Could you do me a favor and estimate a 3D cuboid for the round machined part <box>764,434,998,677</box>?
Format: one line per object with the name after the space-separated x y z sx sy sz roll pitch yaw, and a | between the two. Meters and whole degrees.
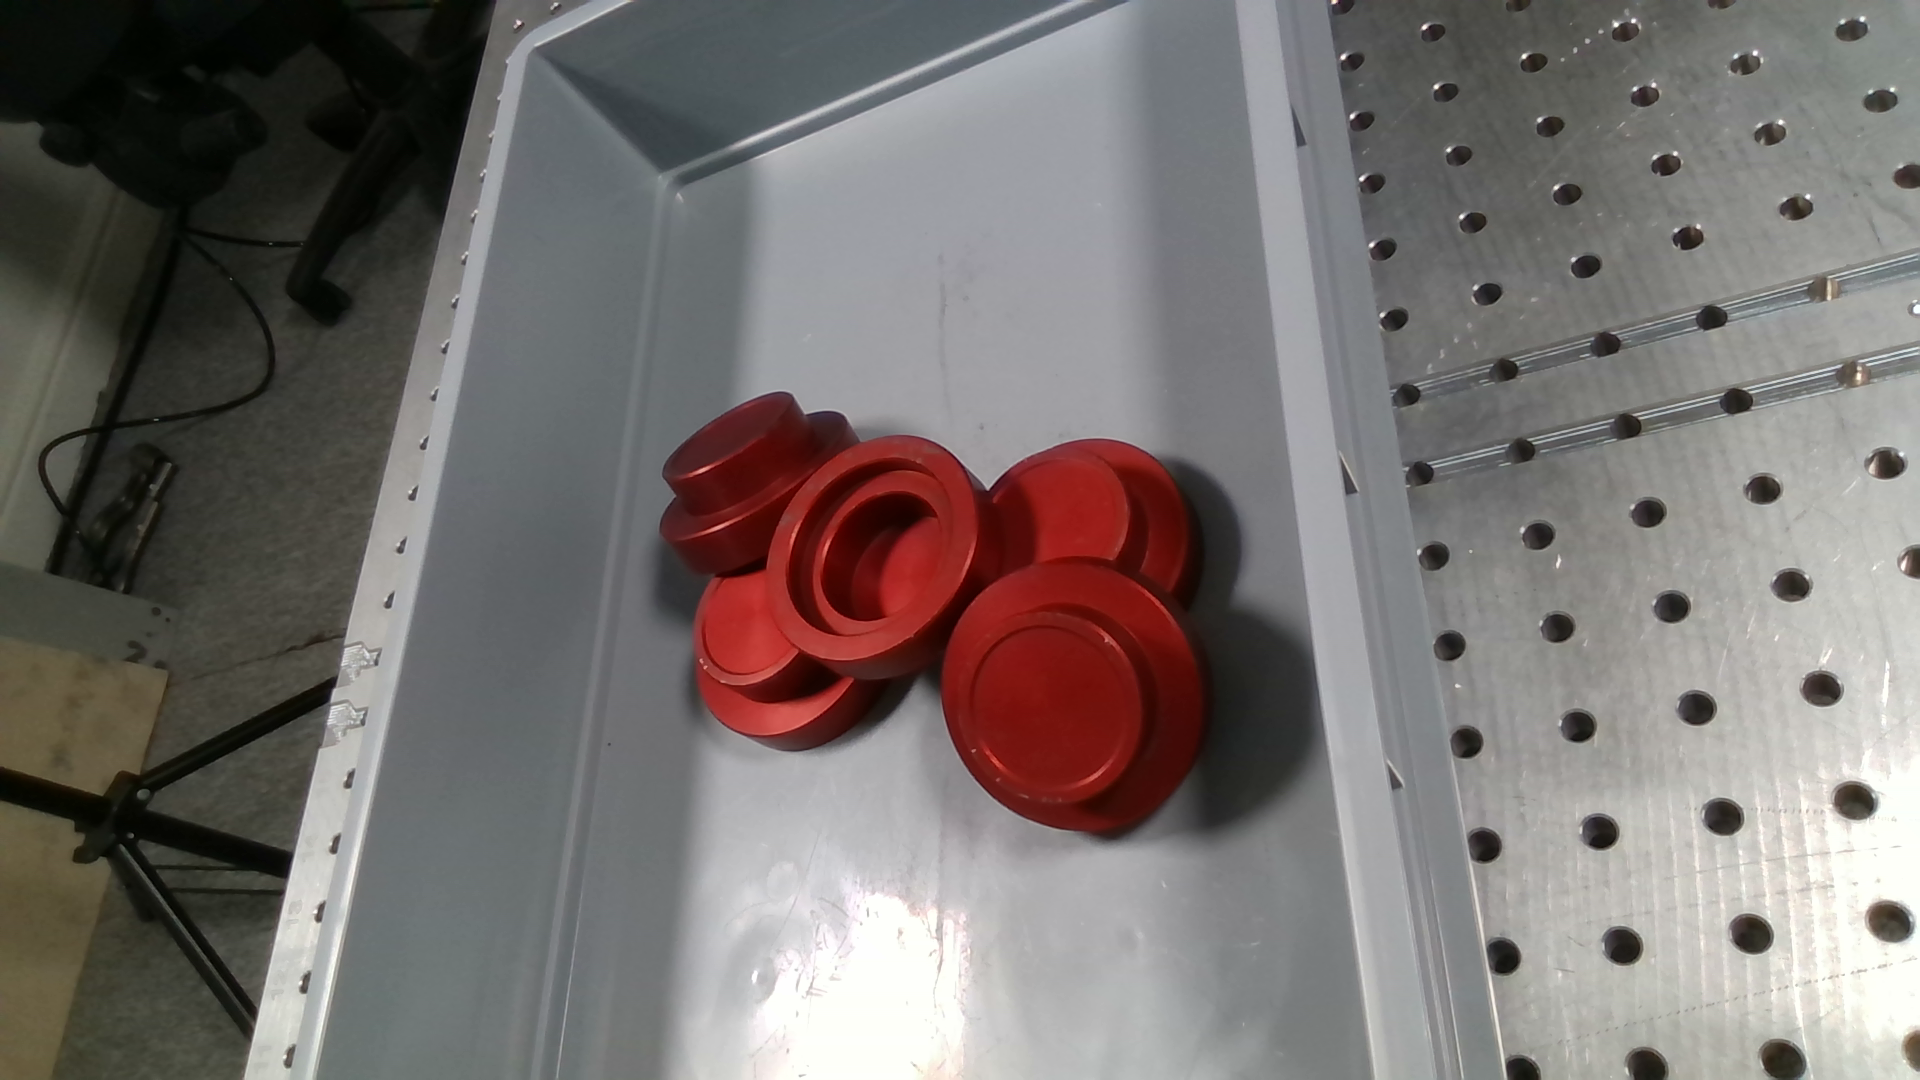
-0.027 0.010 0.556 0.098 0.042 0.098 -14 59 25 | round machined part

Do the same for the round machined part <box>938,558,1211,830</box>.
0.037 0.056 0.493 0.098 0.042 0.098 2 95 22 | round machined part

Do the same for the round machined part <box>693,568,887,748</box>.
-0.077 0.038 0.600 0.098 0.042 0.098 -14 59 25 | round machined part

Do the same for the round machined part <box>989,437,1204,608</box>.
0.043 0.002 0.545 0.098 0.042 0.098 -14 59 25 | round machined part

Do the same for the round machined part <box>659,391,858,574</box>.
-0.094 -0.031 0.621 0.098 0.042 0.098 -25 25 13 | round machined part
